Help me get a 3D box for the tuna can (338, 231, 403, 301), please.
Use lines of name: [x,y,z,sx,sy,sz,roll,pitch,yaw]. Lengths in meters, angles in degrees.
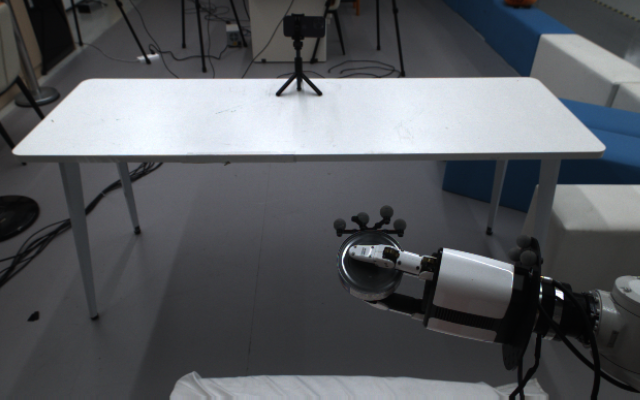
tuna can: [0.065,0.082,0.617,0.085,0.034,0.085,-2,58,3]
